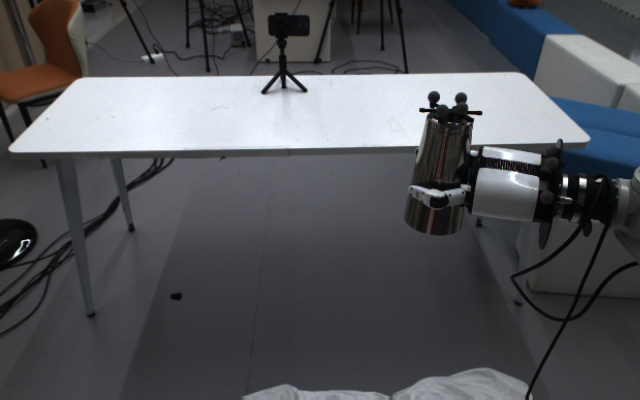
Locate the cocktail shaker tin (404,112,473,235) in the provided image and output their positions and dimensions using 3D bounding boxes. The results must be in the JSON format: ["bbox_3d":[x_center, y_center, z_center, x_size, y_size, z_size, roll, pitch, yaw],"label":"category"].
[{"bbox_3d":[0.184,-0.045,0.731,0.093,0.170,0.093,2,28,-1],"label":"cocktail shaker tin"}]
